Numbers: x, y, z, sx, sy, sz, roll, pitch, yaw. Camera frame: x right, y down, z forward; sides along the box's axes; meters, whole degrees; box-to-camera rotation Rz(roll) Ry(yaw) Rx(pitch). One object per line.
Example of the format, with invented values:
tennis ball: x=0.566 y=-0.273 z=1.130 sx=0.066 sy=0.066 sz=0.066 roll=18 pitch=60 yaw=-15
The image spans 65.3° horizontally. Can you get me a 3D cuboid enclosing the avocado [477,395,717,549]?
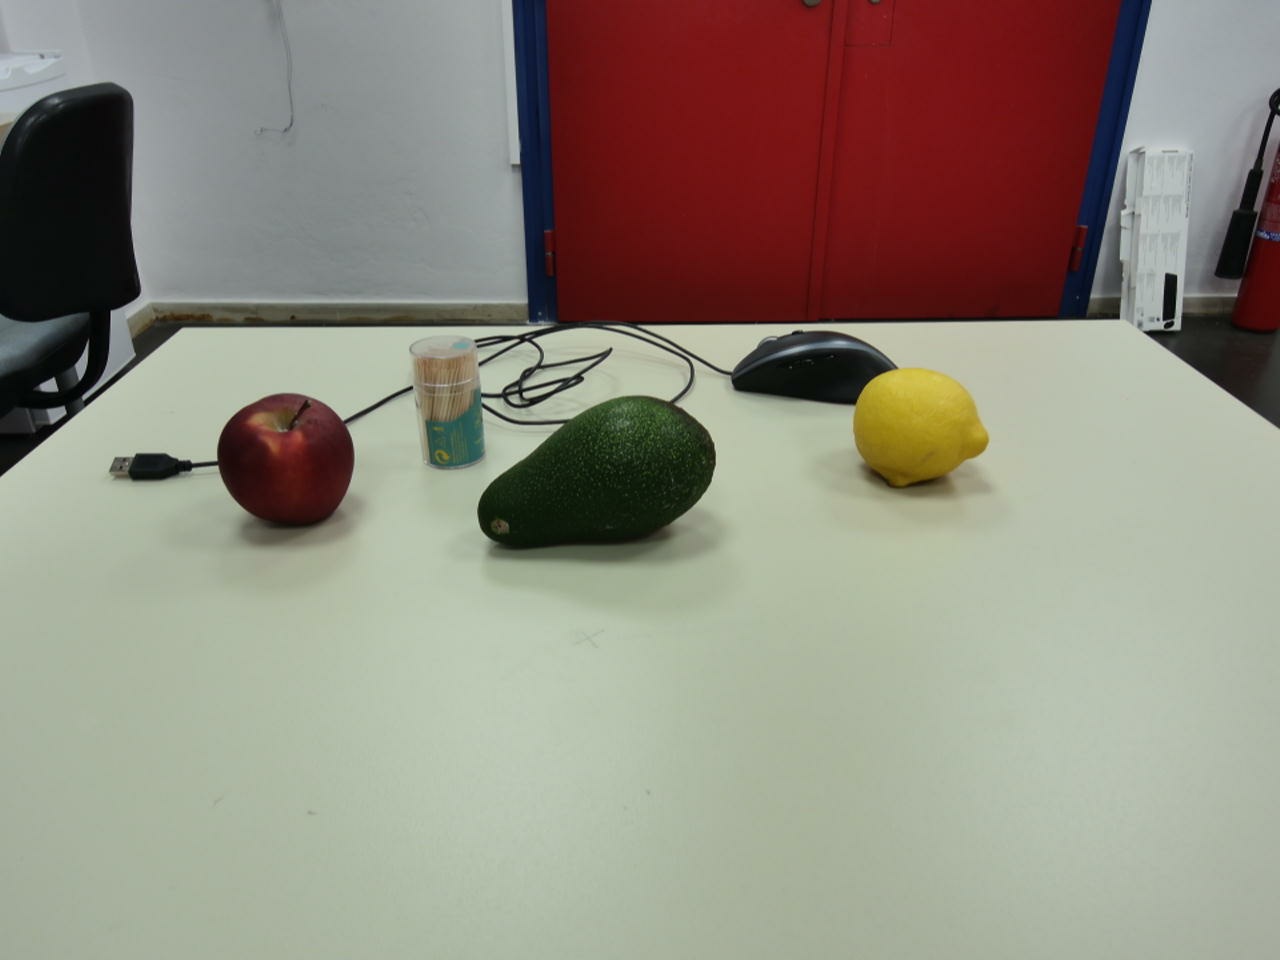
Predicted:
avocado: x=-0.021 y=-0.007 z=0.527 sx=0.123 sy=0.076 sz=0.074 roll=3 pitch=26 yaw=5
